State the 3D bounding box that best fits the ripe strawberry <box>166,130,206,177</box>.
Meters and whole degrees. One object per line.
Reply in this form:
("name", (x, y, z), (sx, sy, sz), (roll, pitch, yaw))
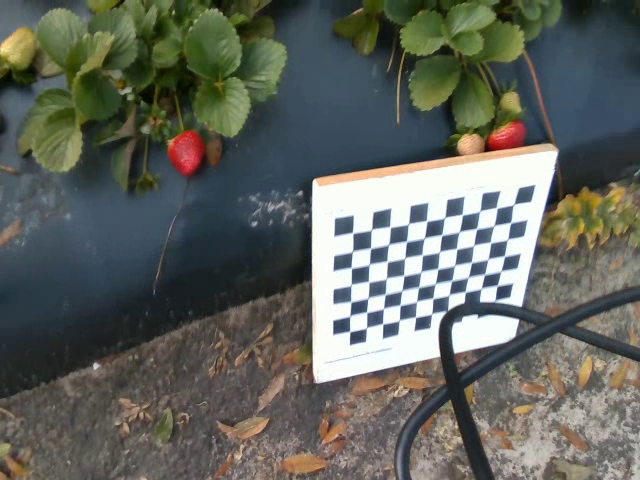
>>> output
("ripe strawberry", (-0.155, -0.095, 0.789), (0.050, 0.053, 0.049), (-17, -38, -13))
